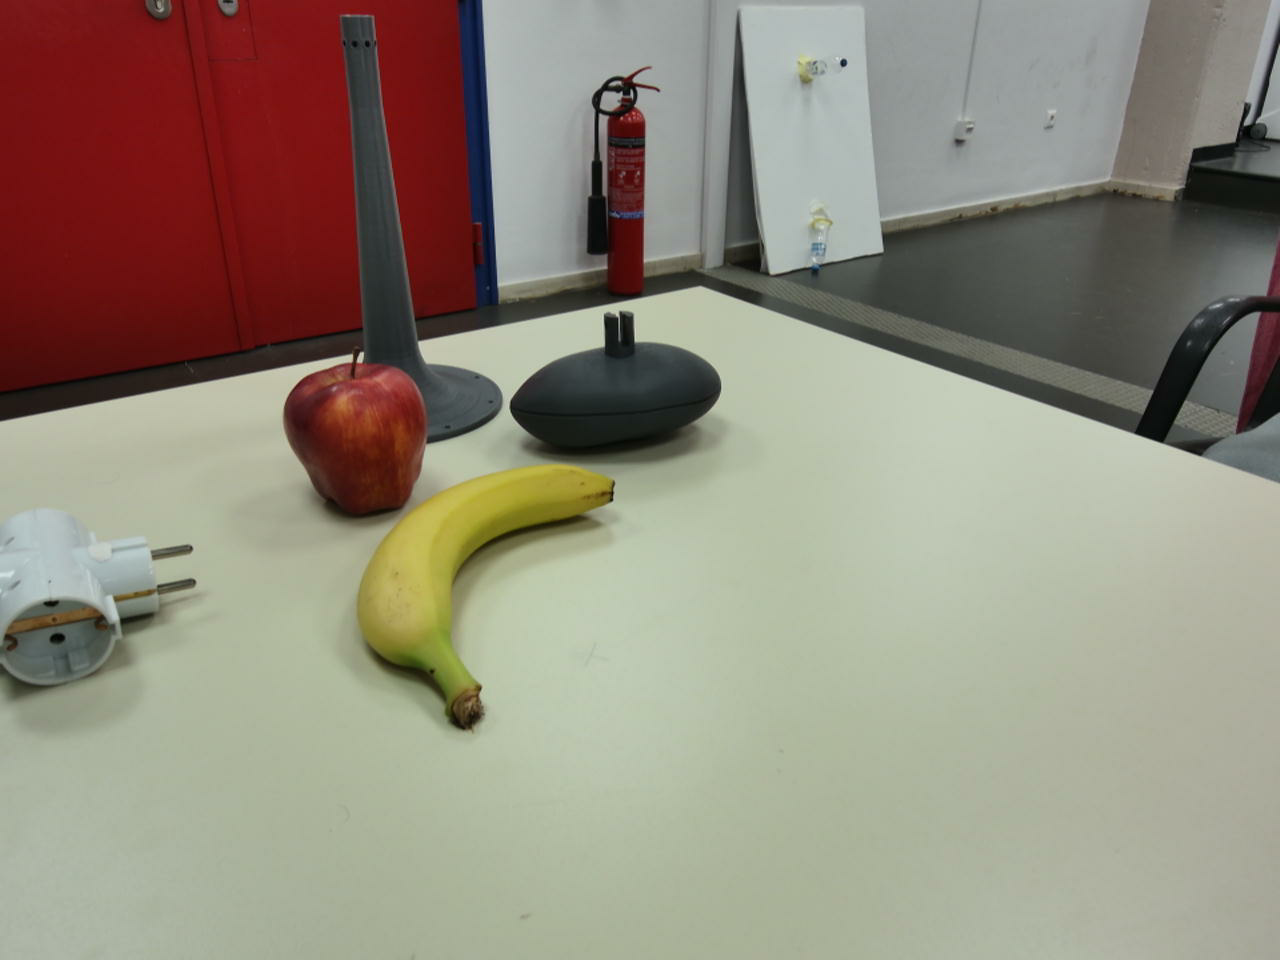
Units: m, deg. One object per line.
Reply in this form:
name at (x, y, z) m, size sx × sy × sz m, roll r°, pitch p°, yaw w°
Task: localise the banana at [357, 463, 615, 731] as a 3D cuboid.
banana at (-0.083, 0.039, 0.494) m, size 0.094 × 0.041 × 0.196 m, roll 8°, pitch 26°, yaw 15°
